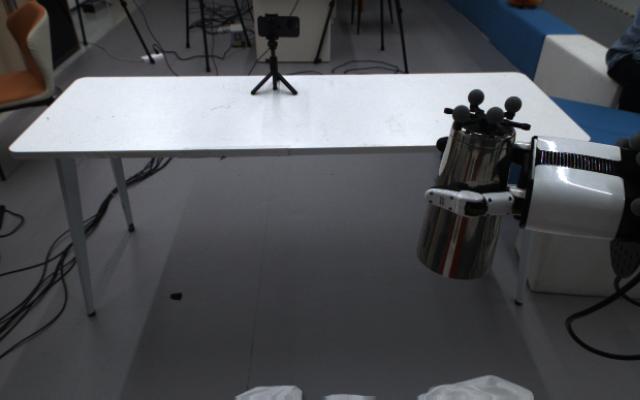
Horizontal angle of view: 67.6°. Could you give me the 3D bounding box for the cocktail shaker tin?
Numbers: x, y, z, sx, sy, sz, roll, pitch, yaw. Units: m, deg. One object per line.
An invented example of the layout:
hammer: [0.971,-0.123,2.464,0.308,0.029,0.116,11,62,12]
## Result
cocktail shaker tin: [0.173,-0.005,0.557,0.093,0.170,0.093,3,30,-2]
